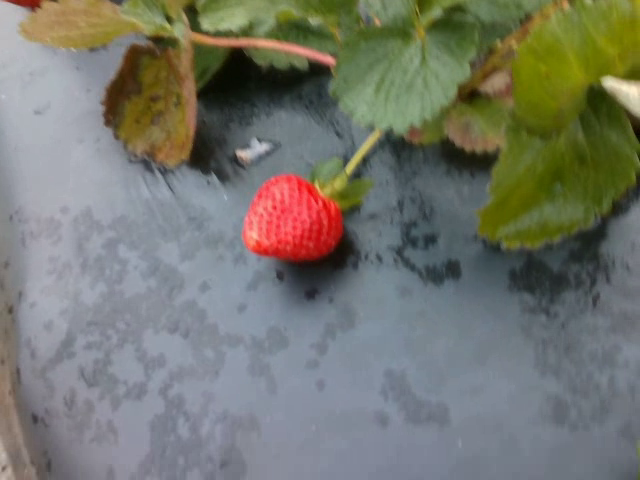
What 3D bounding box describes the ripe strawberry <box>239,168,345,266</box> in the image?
[{"bbox_3d":[-0.014,-0.007,0.280,0.045,0.048,0.053,7,30,44],"label":"ripe strawberry"}]
